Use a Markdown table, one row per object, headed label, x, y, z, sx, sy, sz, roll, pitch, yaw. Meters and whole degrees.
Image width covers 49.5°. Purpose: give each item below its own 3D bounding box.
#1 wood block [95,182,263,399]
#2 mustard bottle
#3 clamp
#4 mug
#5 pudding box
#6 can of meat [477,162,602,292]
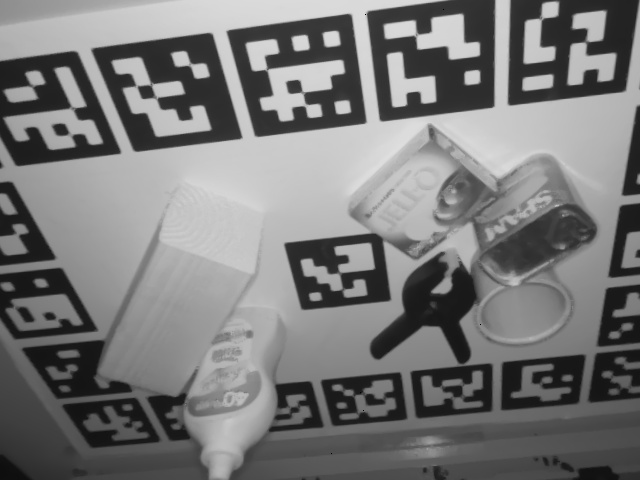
| label | x | y | z | sx | sy | sz | roll | pitch | yaw |
| --- | --- | --- | --- | --- | --- | --- | --- | --- | --- |
| wood block | -0.142 | 0.057 | 0.696 | 0.090 | 0.092 | 0.203 | 23 | 126 | -17 |
| mustard bottle | -0.086 | 0.167 | 0.709 | 0.096 | 0.193 | 0.058 | -10 | 126 | 9 |
| clamp | 0.127 | 0.092 | 0.754 | 0.122 | 0.037 | 0.163 | 9 | 125 | -4 |
| mug | 0.202 | 0.054 | 0.719 | 0.094 | 0.082 | 0.115 | 11 | 125 | -7 |
| pudding box | 0.095 | -0.037 | 0.650 | 0.090 | 0.039 | 0.112 | 35 | 122 | -22 |
| can of meat | 0.194 | -0.014 | 0.631 | 0.100 | 0.084 | 0.058 | -33 | 119 | 23 |
